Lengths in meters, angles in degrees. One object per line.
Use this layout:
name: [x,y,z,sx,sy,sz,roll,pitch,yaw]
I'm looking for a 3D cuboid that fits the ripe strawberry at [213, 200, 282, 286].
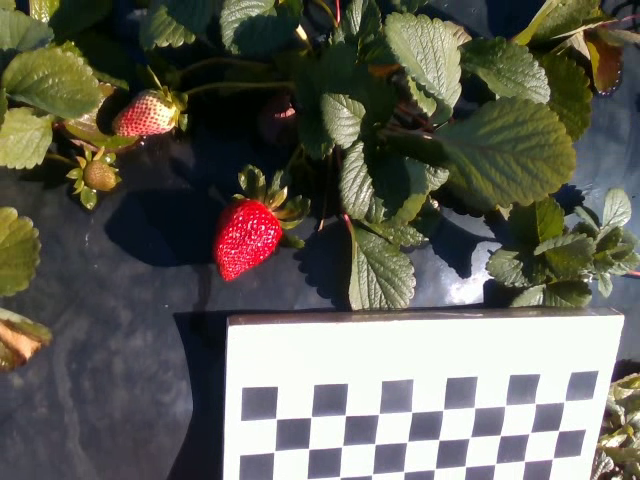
ripe strawberry: [-0.051,0.000,0.336,0.058,0.065,0.062,-34,23,29]
